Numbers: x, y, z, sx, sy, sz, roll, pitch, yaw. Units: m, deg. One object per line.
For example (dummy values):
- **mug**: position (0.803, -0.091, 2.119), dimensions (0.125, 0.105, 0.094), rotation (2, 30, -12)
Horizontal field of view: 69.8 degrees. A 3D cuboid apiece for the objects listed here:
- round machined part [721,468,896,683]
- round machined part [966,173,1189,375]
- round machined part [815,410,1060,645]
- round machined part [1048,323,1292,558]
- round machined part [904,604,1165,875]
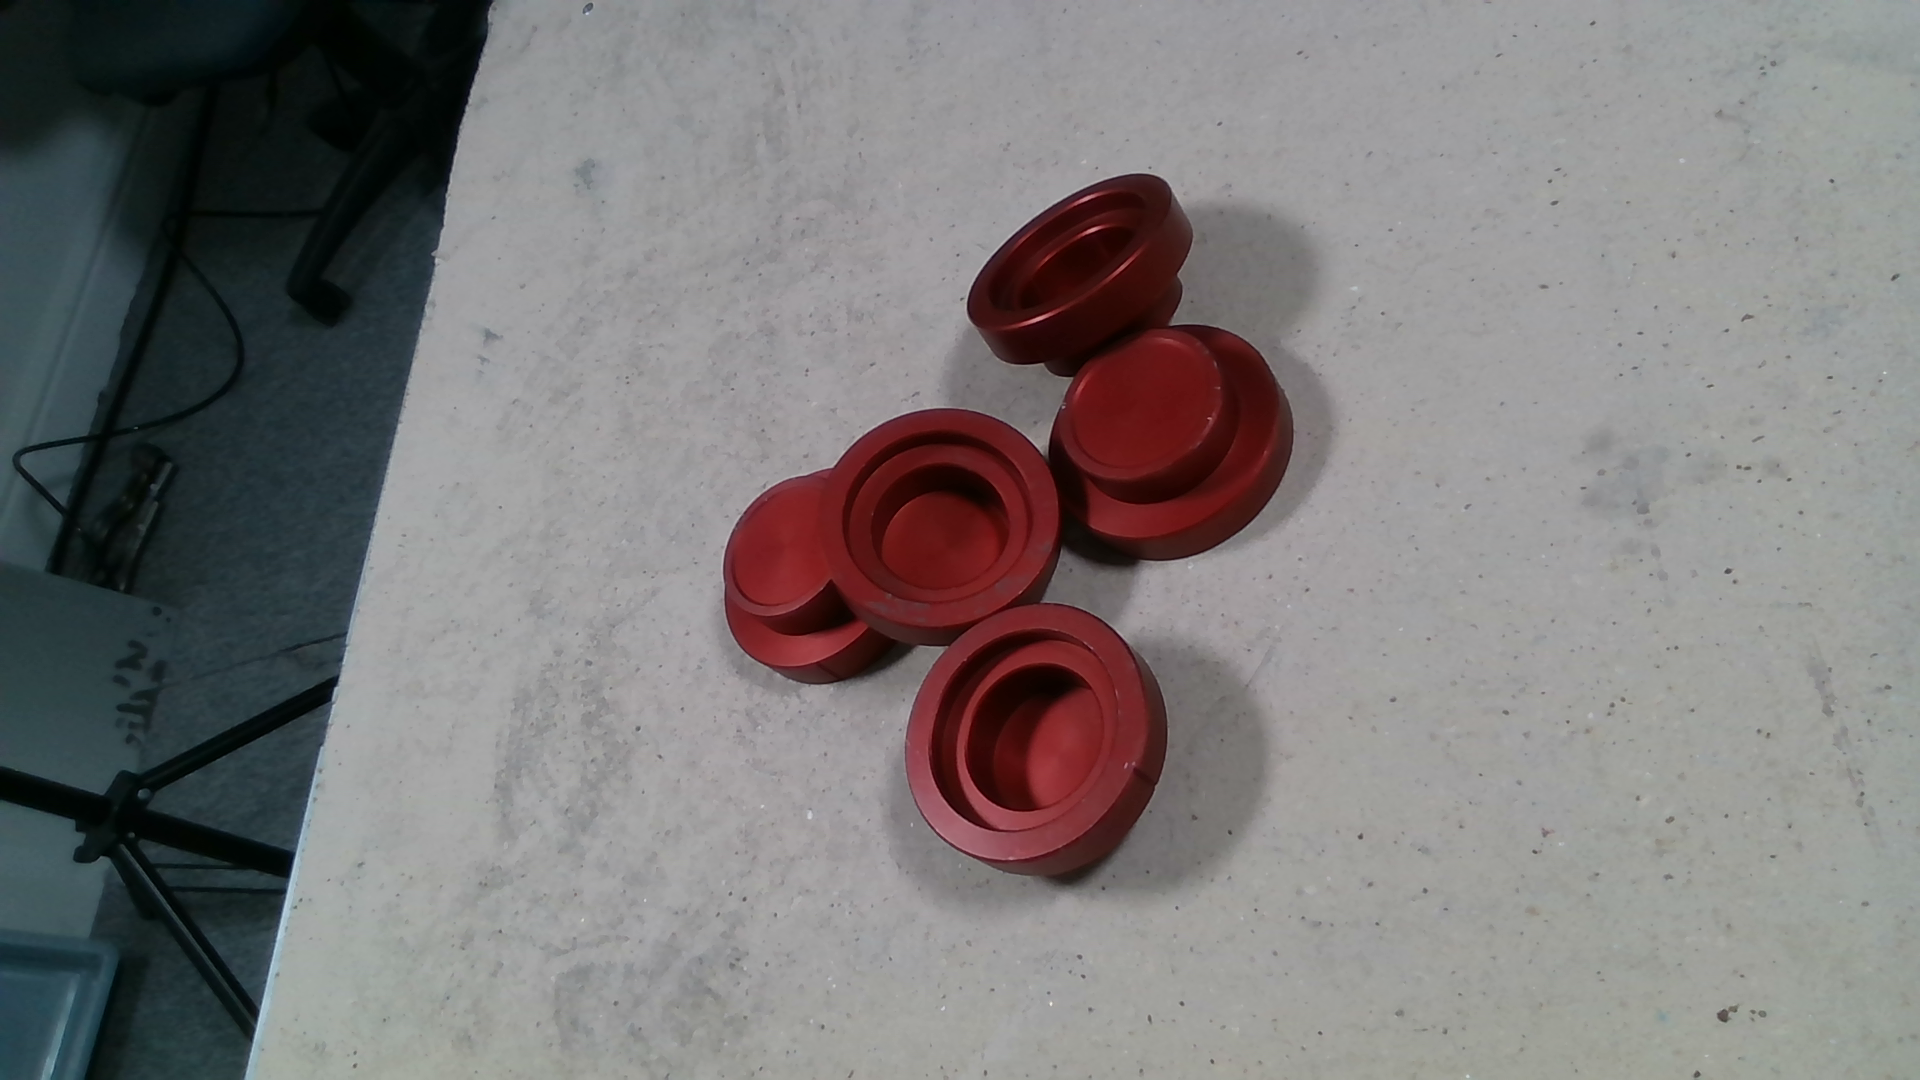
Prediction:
- **round machined part**: position (-0.066, 0.011, 0.609), dimensions (0.098, 0.042, 0.098), rotation (-14, 59, 25)
- **round machined part**: position (0.054, -0.108, 0.584), dimensions (0.098, 0.042, 0.098), rotation (-28, 32, 19)
- **round machined part**: position (-0.007, -0.001, 0.566), dimensions (0.098, 0.042, 0.098), rotation (-2, 64, 5)
- **round machined part**: position (0.079, -0.045, 0.549), dimensions (0.098, 0.042, 0.098), rotation (-14, 59, 25)
- **round machined part**: position (0.032, 0.077, 0.514), dimensions (0.098, 0.042, 0.098), rotation (-14, 59, 25)
